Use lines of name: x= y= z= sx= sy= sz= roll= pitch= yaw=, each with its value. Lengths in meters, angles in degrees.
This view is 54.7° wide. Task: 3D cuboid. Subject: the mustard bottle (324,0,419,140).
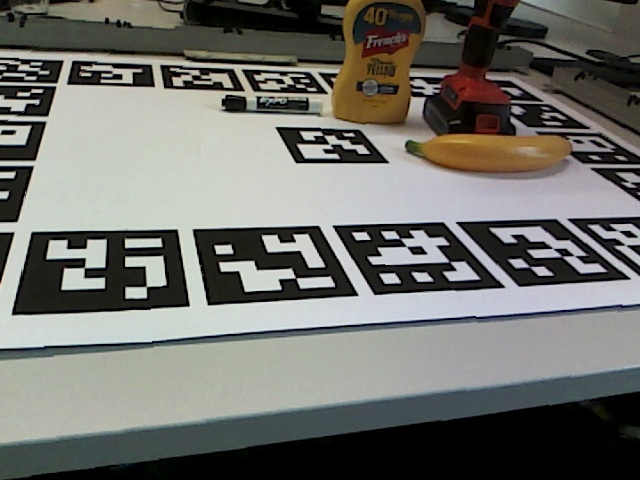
mustard bottle: x=0.065 y=-0.217 z=0.736 sx=0.096 sy=0.191 sz=0.058 roll=5 pitch=33 yaw=-8

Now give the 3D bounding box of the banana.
banana: x=0.185 y=-0.070 z=0.683 sx=0.197 sy=0.039 sz=0.074 roll=1 pitch=35 yaw=-8

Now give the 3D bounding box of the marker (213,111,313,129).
marker: x=-0.069 y=-0.146 z=0.755 sx=0.120 sy=0.019 sz=0.020 roll=-1 pitch=35 yaw=-14

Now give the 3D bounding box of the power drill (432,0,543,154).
power drill: x=0.185 y=-0.199 z=0.704 sx=0.057 sy=0.187 sz=0.185 roll=7 pitch=30 yaw=-6
